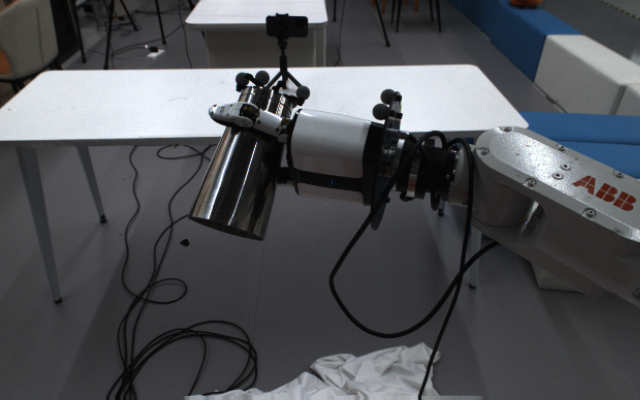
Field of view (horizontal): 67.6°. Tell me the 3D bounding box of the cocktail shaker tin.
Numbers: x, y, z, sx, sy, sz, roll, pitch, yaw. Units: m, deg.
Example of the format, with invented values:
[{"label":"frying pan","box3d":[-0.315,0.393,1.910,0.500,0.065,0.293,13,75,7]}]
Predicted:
[{"label":"cocktail shaker tin","box3d":[-0.085,-0.048,0.582,0.093,0.093,0.170,13,77,15]}]
